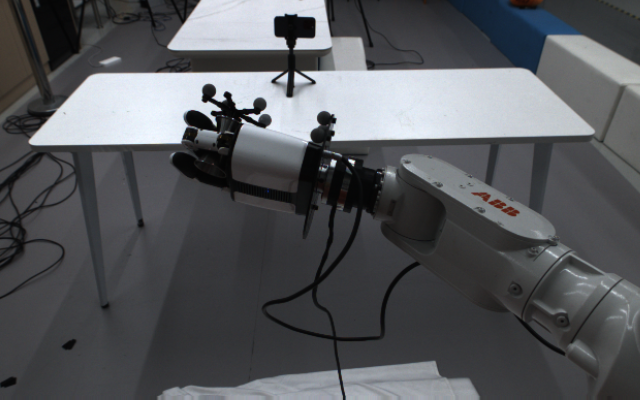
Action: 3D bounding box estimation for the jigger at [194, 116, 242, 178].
[{"bbox_3d":[-0.123,-0.067,0.614,0.043,0.043,0.071,12,71,14],"label":"jigger"}]
